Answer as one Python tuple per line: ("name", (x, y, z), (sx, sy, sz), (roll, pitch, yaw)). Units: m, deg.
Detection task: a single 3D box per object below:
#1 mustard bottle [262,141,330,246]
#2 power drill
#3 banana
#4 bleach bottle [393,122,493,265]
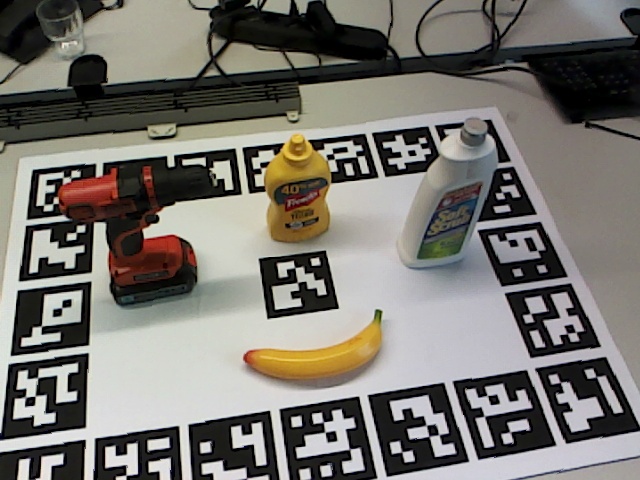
("mustard bottle", (-0.034, -0.068, 0.879), (0.096, 0.191, 0.059), (-13, 57, -13))
("power drill", (-0.210, -0.023, 0.806), (0.184, 0.186, 0.057), (-14, 57, -7))
("banana", (-0.001, 0.143, 0.811), (0.197, 0.039, 0.074), (-13, 58, -7))
("bleach bottle", (0.166, -0.060, 0.839), (0.102, 0.250, 0.068), (-1, 55, -3))
